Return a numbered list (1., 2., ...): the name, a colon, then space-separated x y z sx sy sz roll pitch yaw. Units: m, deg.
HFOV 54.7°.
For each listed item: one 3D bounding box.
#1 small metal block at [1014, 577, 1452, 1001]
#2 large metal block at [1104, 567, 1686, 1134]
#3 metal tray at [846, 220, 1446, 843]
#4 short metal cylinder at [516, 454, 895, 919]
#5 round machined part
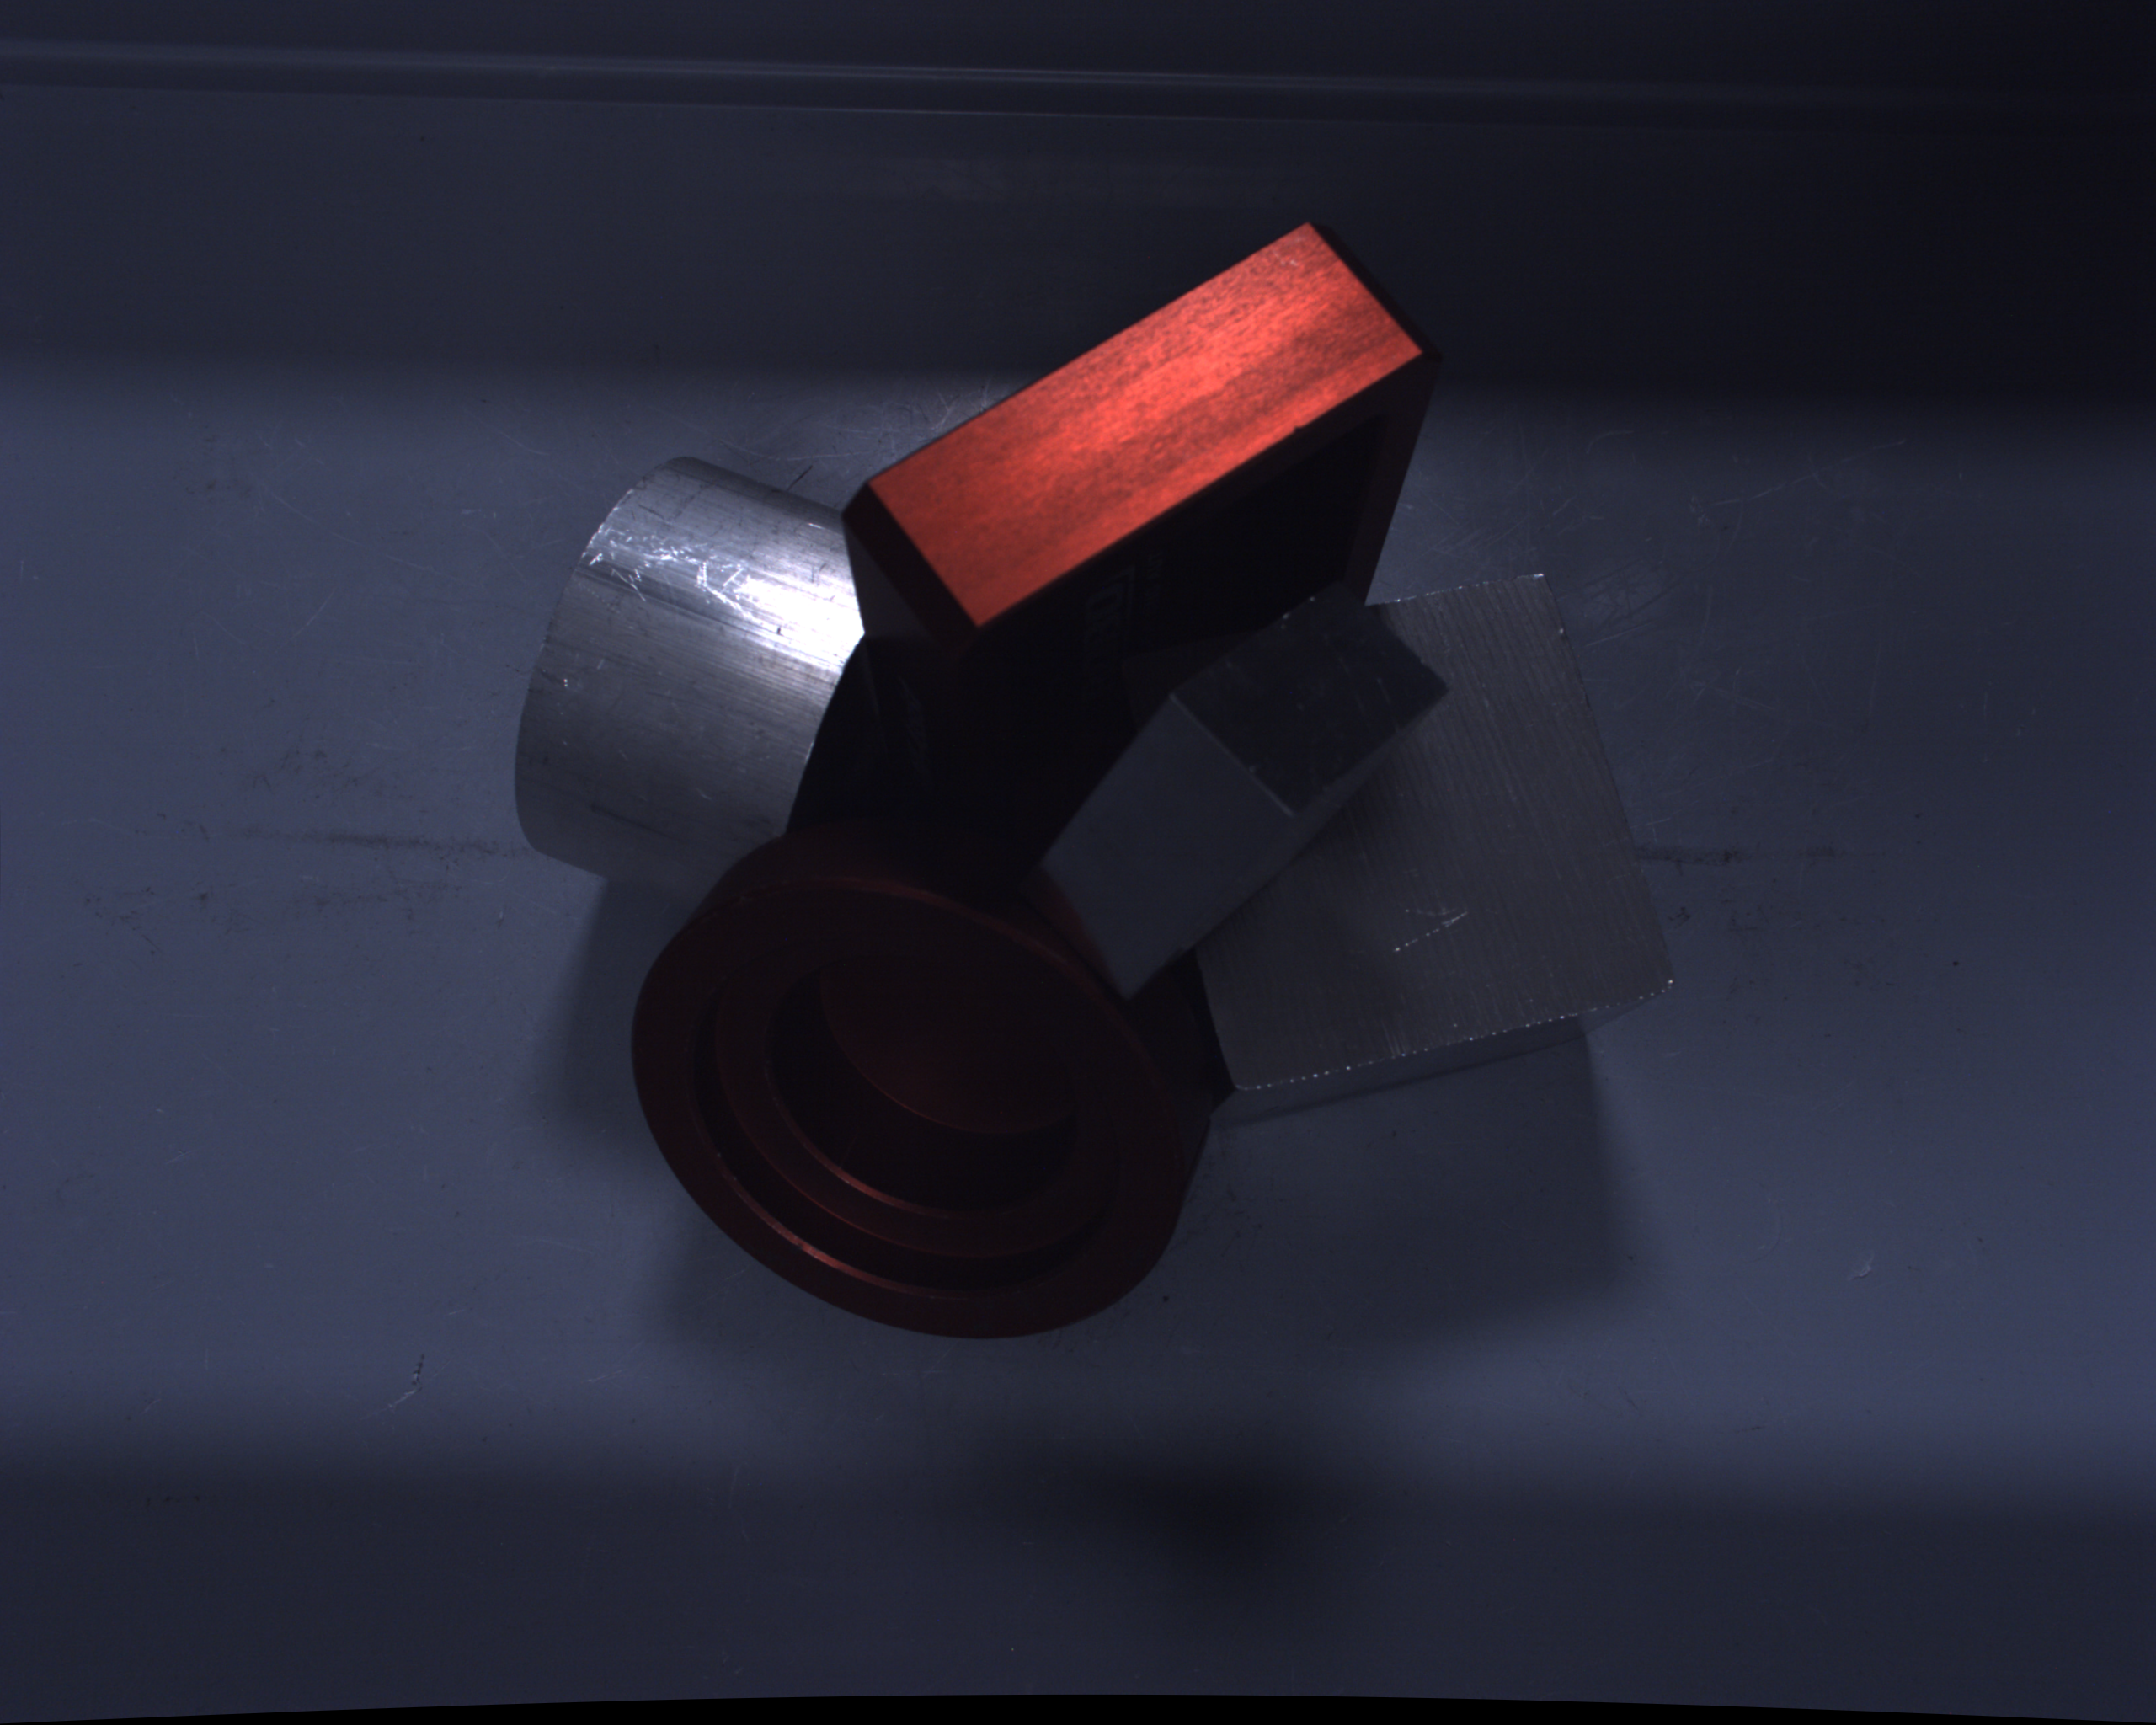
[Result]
1. small metal block: 0.024 -0.012 0.327 0.025 0.050 0.050 46 44 7
2. large metal block: 0.055 -0.001 0.388 0.081 0.050 0.080 -13 75 -5
3. metal tray: 0.010 -0.045 0.369 0.090 0.130 0.030 -33 75 -12
4. short metal cylinder: -0.061 -0.030 0.389 0.050 0.080 0.080 21 71 7
5. round machined part: -0.024 0.033 0.367 0.098 0.097 0.042 19 36 6
